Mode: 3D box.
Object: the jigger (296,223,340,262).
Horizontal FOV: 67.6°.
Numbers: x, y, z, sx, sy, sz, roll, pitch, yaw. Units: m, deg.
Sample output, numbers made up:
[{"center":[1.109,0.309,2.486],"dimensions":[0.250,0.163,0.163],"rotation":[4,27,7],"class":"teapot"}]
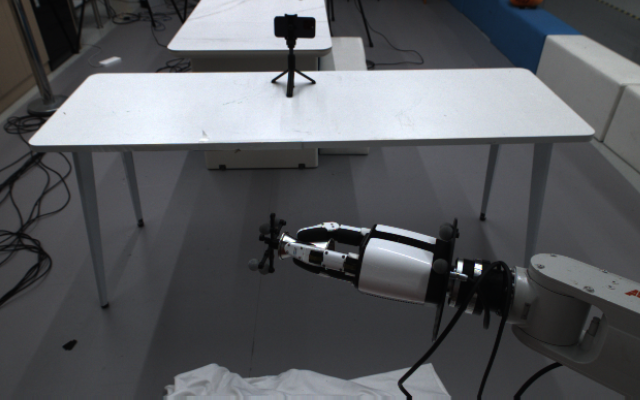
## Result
[{"center":[-0.012,0.063,0.657],"dimensions":[0.071,0.043,0.043],"rotation":[8,35,16],"class":"jigger"}]
